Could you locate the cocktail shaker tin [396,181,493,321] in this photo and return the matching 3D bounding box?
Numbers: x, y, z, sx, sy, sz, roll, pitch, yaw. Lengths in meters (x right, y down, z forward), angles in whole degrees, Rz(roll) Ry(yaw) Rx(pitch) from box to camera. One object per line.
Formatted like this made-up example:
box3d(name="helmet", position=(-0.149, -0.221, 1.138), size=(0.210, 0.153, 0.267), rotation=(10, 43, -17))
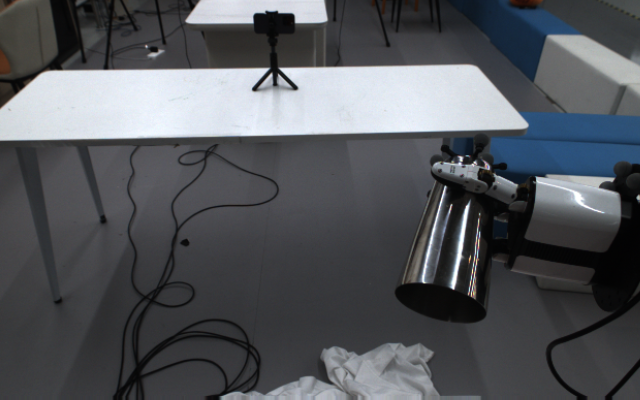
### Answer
box3d(name="cocktail shaker tin", position=(0.147, 0.033, 0.532), size=(0.093, 0.093, 0.170), rotation=(13, 59, 16))
